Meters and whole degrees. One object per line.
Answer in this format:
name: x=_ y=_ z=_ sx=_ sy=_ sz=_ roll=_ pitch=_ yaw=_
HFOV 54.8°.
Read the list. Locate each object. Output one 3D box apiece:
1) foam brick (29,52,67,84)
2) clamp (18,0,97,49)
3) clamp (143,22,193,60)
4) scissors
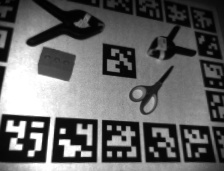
foam brick: x=-0.156 y=-0.043 z=0.535 sx=0.078 sy=0.051 sz=0.052 roll=11 pitch=69 yaw=-9
clamp: x=-0.142 y=-0.167 z=0.590 sx=0.204 sy=0.036 sz=0.164 roll=2 pitch=68 yaw=-19
clamp: x=0.171 y=-0.129 z=0.684 sx=0.166 sy=0.036 sz=0.122 roll=-23 pitch=87 yaw=-23
scissors: x=0.111 y=0.003 z=0.620 sx=0.088 sy=0.016 sz=0.204 roll=45 pitch=62 yaw=-7
